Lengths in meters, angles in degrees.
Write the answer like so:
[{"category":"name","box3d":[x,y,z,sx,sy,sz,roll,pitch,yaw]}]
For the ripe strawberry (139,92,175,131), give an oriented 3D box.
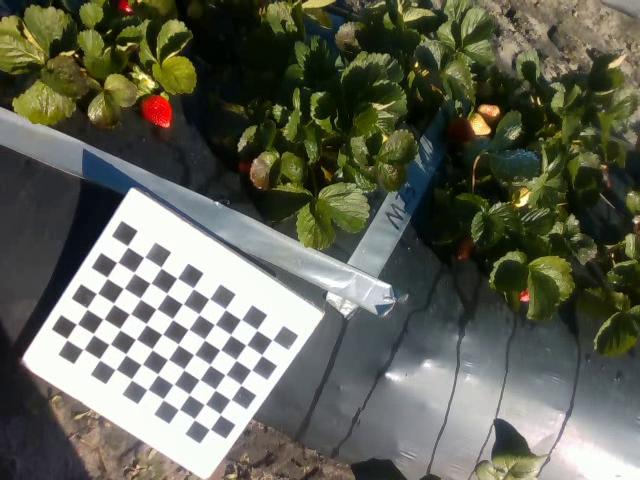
[{"category":"ripe strawberry","box3d":[-0.219,-0.171,0.891,0.046,0.058,0.042,-29,-10,1]}]
